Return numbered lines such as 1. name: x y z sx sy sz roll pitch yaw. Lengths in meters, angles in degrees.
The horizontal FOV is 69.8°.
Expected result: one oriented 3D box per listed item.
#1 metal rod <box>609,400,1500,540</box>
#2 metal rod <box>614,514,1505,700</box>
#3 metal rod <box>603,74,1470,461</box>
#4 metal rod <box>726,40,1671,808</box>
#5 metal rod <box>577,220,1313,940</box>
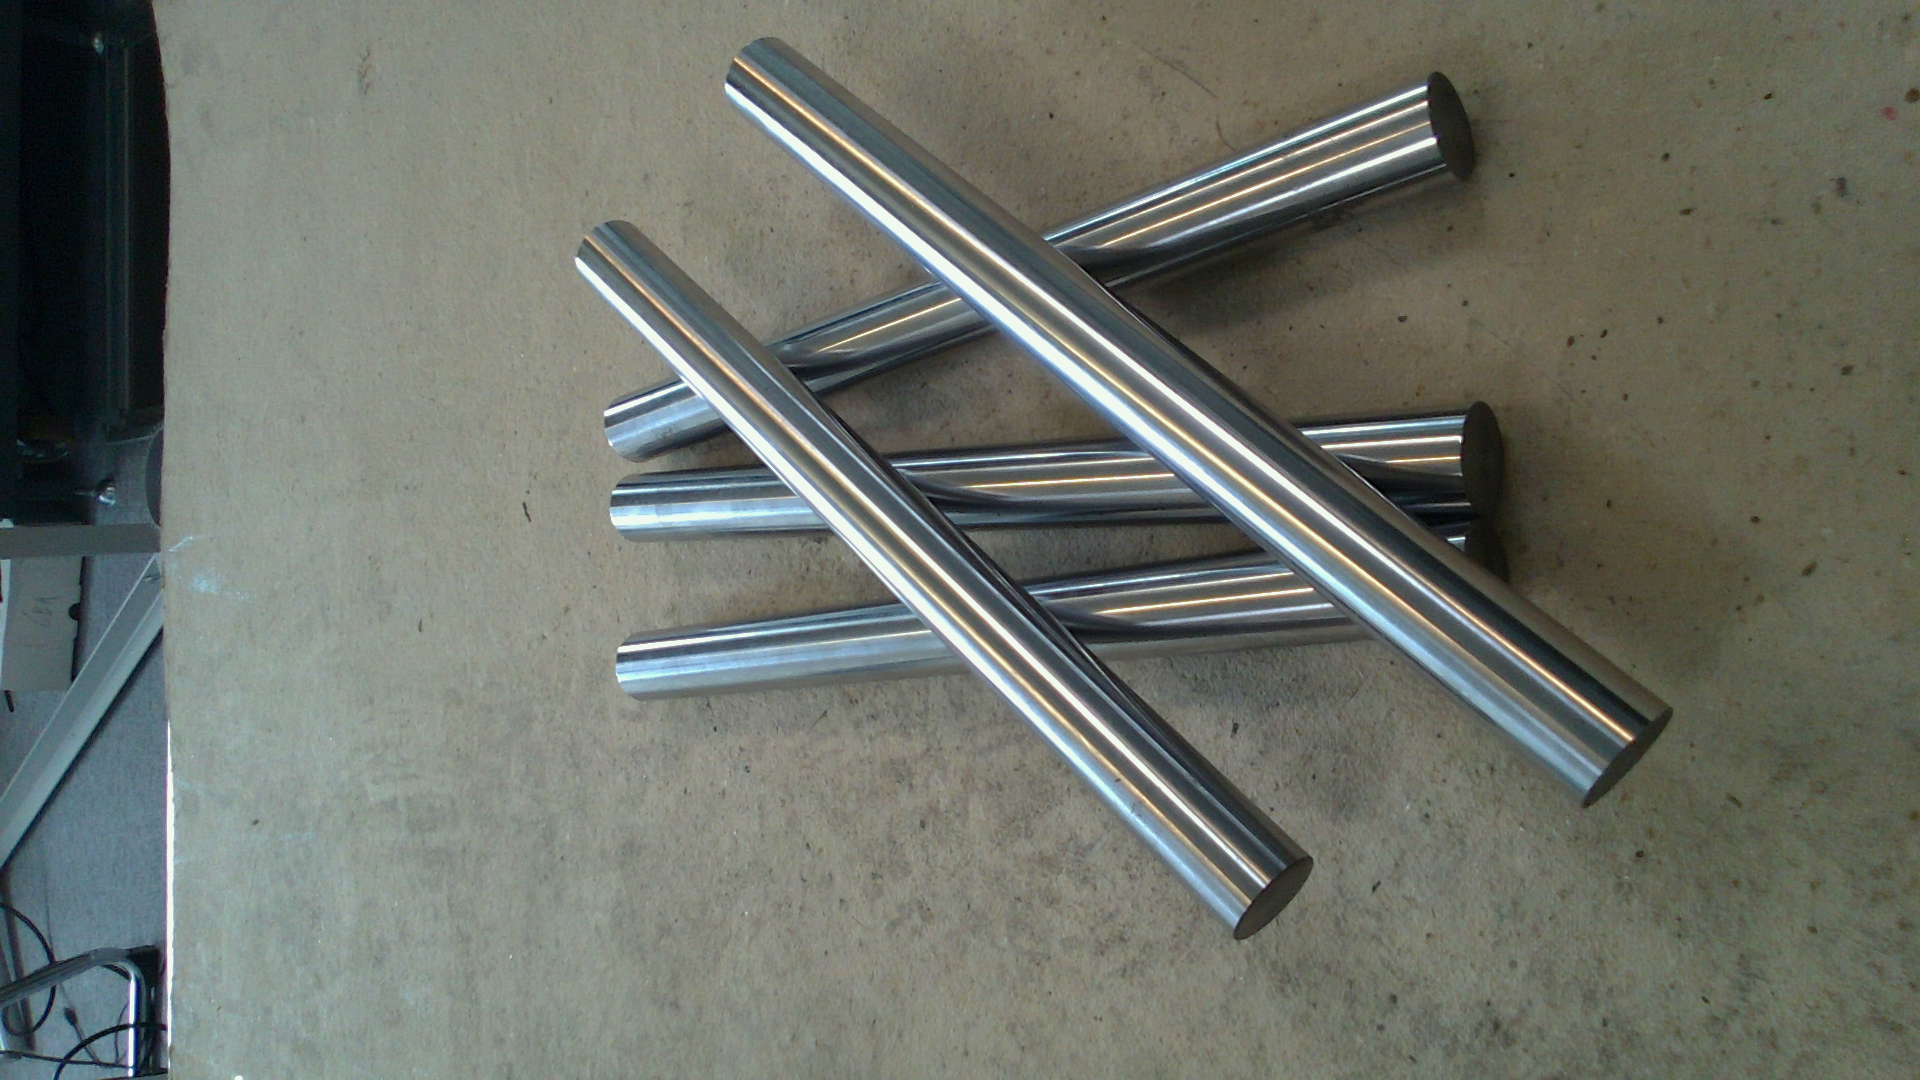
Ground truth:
1. metal rod: -0.001 -0.015 0.396 0.299 0.025 0.025 -2 89 40
2. metal rod: 0.001 0.026 0.394 0.299 0.025 0.025 -10 84 40
3. metal rod: -0.005 -0.065 0.399 0.299 0.025 0.025 -13 82 39
4. metal rod: 0.033 -0.048 0.335 0.299 0.025 0.025 44 117 31
5. metal rod: -0.024 -0.008 0.382 0.299 0.025 0.025 43 116 31
